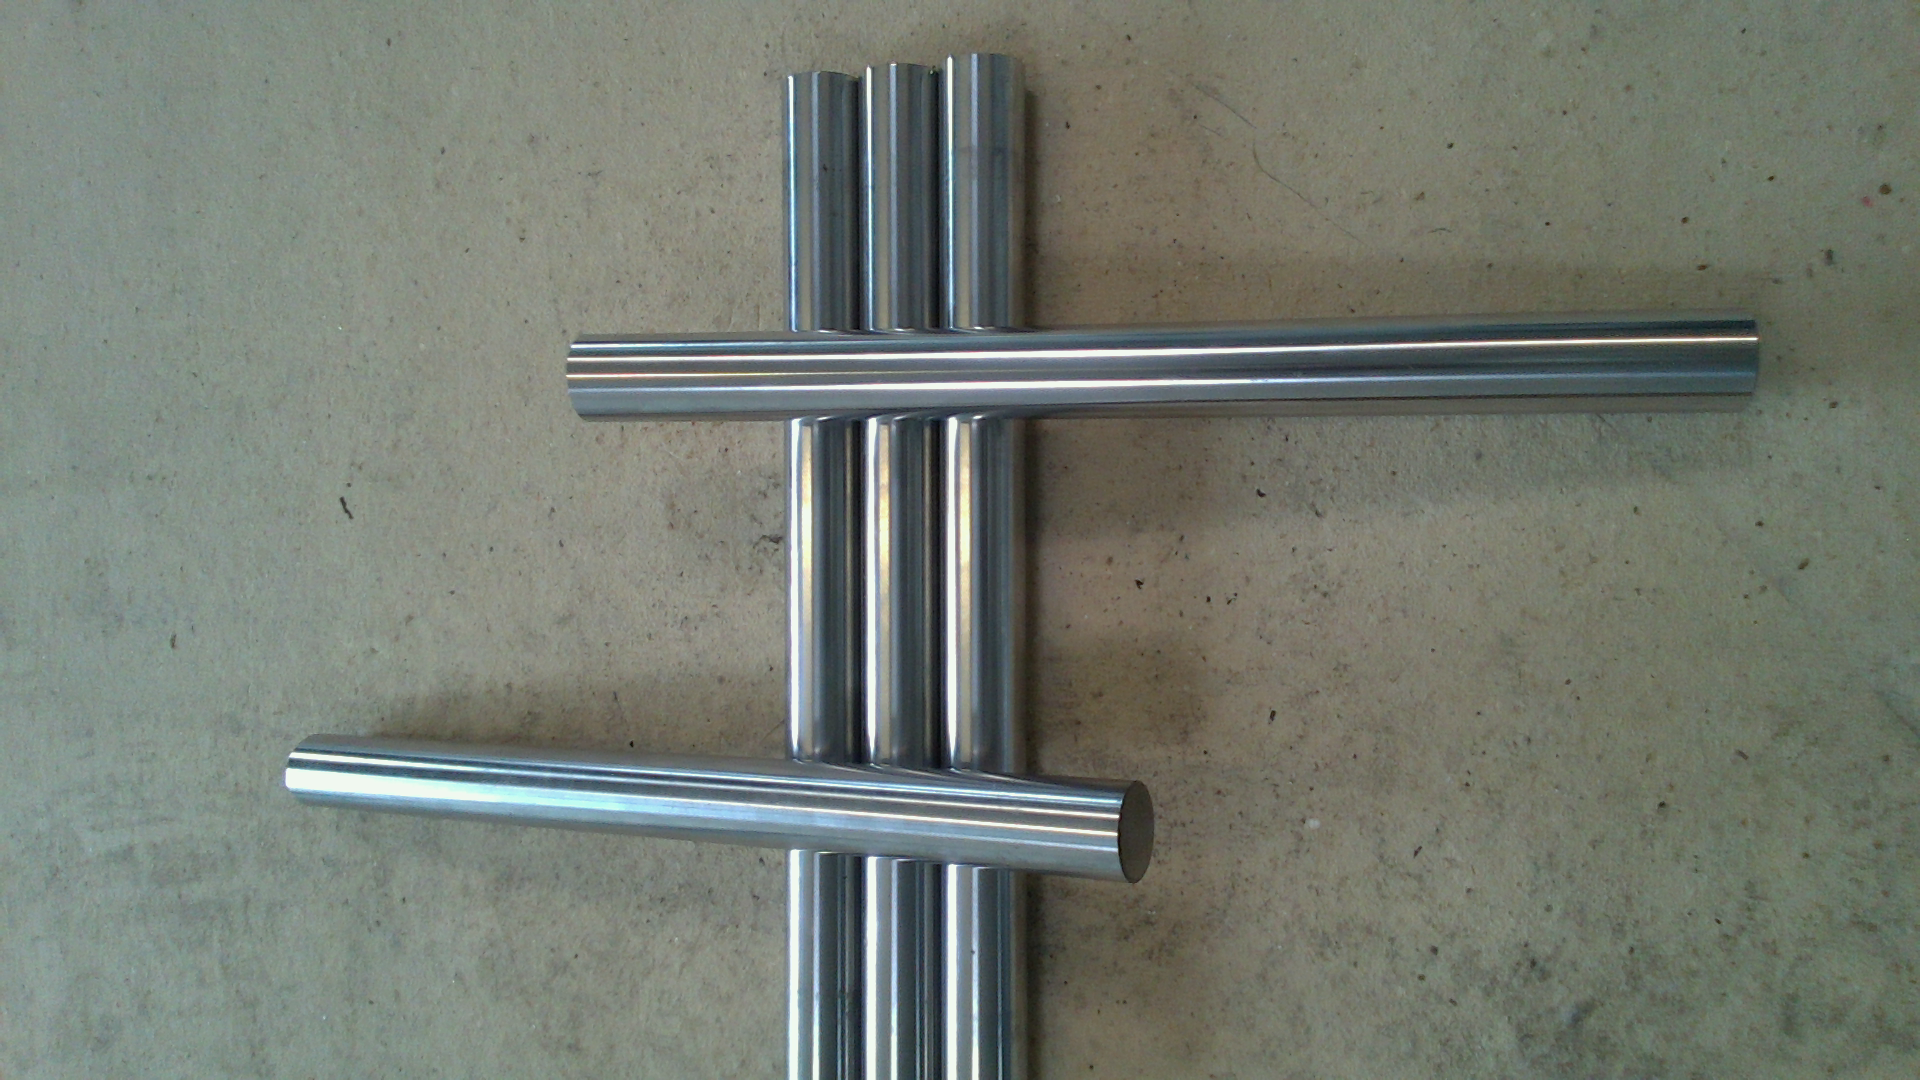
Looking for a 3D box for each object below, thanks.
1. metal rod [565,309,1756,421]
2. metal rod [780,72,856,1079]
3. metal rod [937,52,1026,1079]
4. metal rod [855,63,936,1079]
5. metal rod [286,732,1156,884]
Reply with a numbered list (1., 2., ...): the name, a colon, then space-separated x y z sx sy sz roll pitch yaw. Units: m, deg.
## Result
1. metal rod: 0.040 -0.045 0.361 0.299 0.025 0.025 1 90 12
2. metal rod: -0.041 0.015 0.410 0.025 0.025 0.300 0 90 20
3. metal rod: 0.006 0.015 0.393 0.025 0.025 0.300 0 90 20
4. metal rod: -0.017 0.015 0.402 0.025 0.025 0.300 0 90 20
5. metal rod: -0.089 0.075 0.408 0.299 0.025 0.025 -1 90 27
